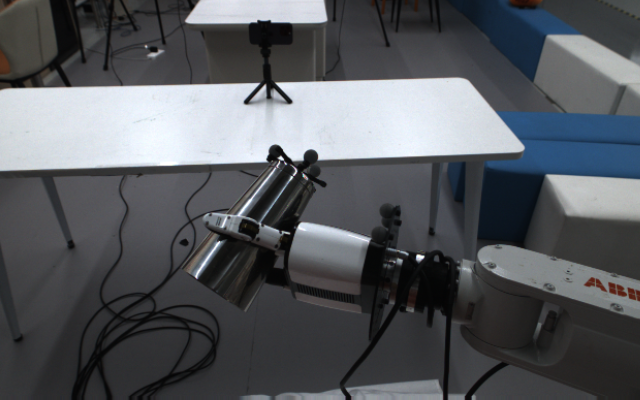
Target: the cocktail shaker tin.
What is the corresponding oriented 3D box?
[{"bbox_3d":[-0.079,0.034,0.584,0.093,0.093,0.170,24,70,28],"label":"cocktail shaker tin"}]
